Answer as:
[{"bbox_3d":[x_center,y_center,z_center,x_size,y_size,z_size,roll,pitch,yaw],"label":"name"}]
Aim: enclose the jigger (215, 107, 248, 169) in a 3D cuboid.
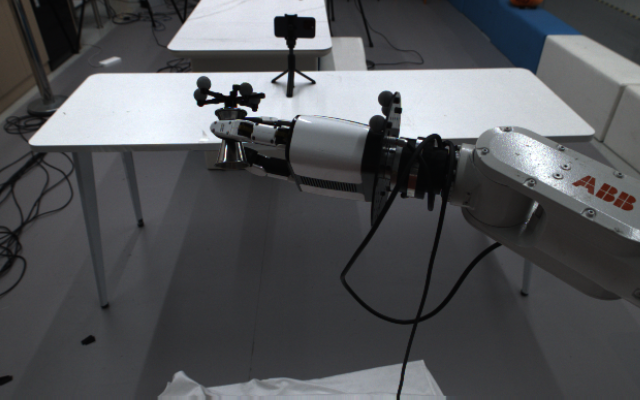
[{"bbox_3d":[-0.109,-0.076,0.598,0.043,0.071,0.043,-2,-7,0],"label":"jigger"}]
